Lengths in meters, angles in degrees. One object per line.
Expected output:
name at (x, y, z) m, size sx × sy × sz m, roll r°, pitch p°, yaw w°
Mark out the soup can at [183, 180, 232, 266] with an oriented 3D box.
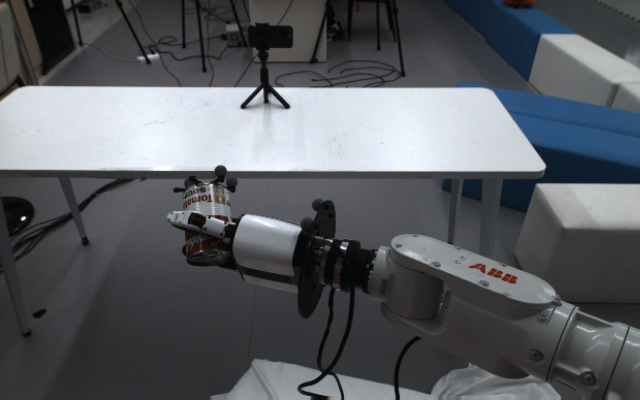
soup can at (-0.156, 0.037, 0.681) m, size 0.067 × 0.067 × 0.101 m, roll -6°, pitch 67°, yaw -12°
